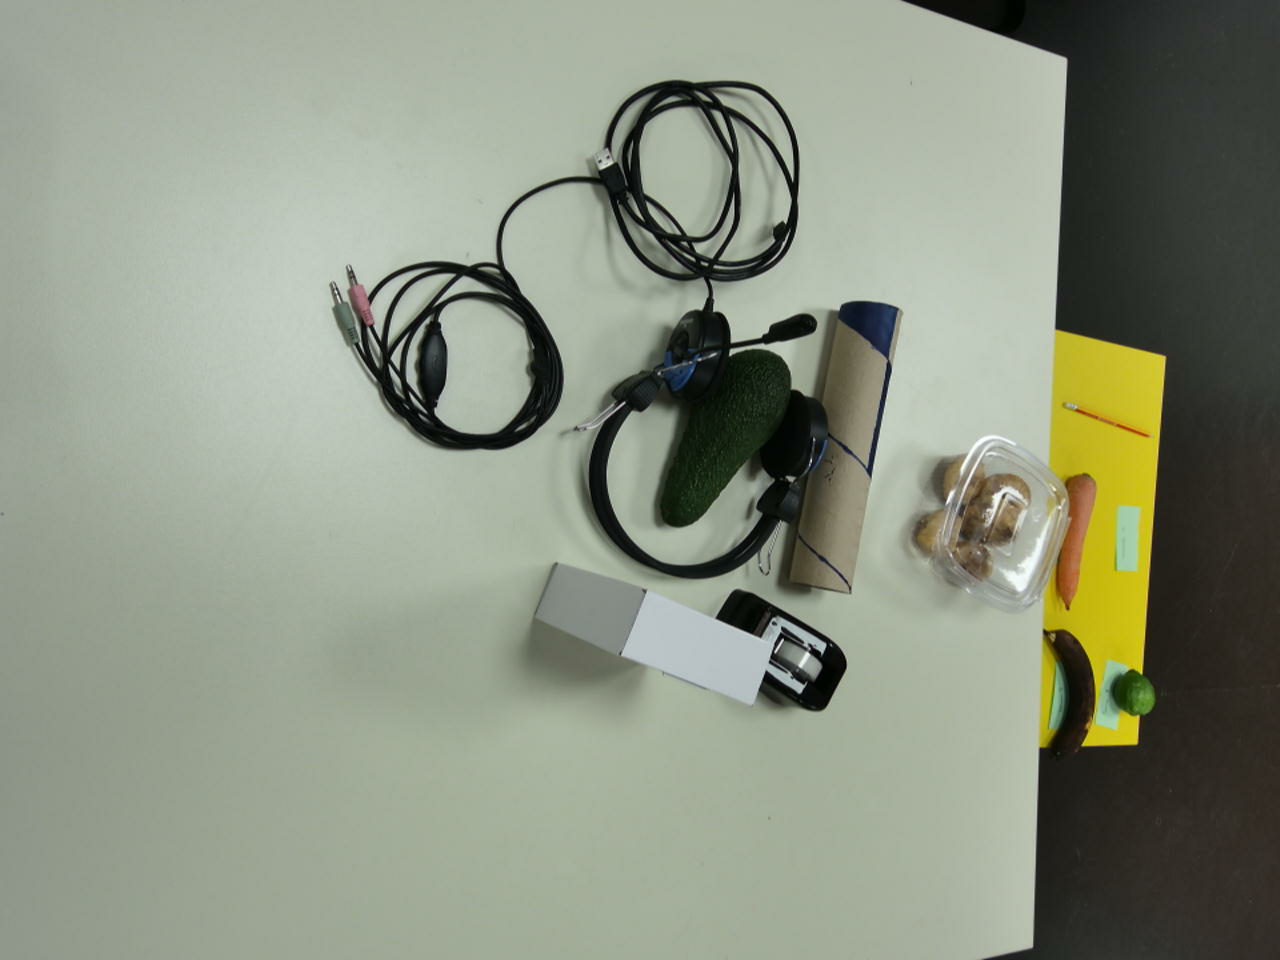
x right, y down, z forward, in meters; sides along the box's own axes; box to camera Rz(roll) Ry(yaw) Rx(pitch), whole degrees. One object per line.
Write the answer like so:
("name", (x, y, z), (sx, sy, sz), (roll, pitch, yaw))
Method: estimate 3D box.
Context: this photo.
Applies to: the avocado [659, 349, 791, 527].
("avocado", (0.063, -0.028, 0.698), (0.063, 0.067, 0.141), (21, 81, -27))
